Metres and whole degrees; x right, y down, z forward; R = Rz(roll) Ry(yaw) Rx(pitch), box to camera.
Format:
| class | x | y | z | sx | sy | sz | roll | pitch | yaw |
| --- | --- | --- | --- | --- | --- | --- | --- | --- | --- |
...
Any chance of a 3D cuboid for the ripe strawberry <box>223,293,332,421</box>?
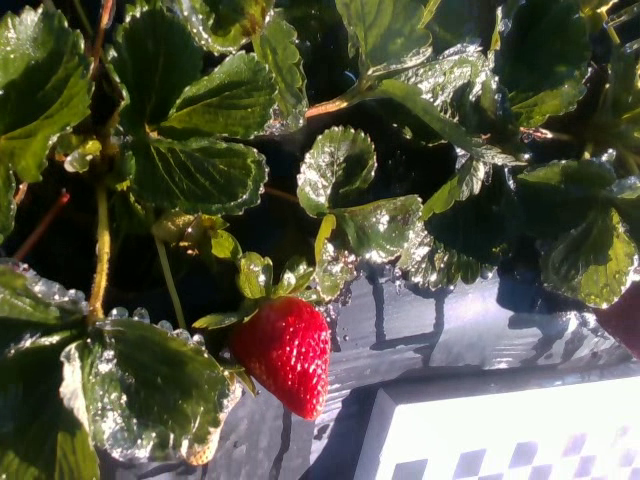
| class | x | y | z | sx | sy | sz | roll | pitch | yaw |
| --- | --- | --- | --- | --- | --- | --- | --- | --- | --- |
| ripe strawberry | -0.012 | 0.058 | 0.274 | 0.042 | 0.061 | 0.046 | -12 | -13 | -20 |
